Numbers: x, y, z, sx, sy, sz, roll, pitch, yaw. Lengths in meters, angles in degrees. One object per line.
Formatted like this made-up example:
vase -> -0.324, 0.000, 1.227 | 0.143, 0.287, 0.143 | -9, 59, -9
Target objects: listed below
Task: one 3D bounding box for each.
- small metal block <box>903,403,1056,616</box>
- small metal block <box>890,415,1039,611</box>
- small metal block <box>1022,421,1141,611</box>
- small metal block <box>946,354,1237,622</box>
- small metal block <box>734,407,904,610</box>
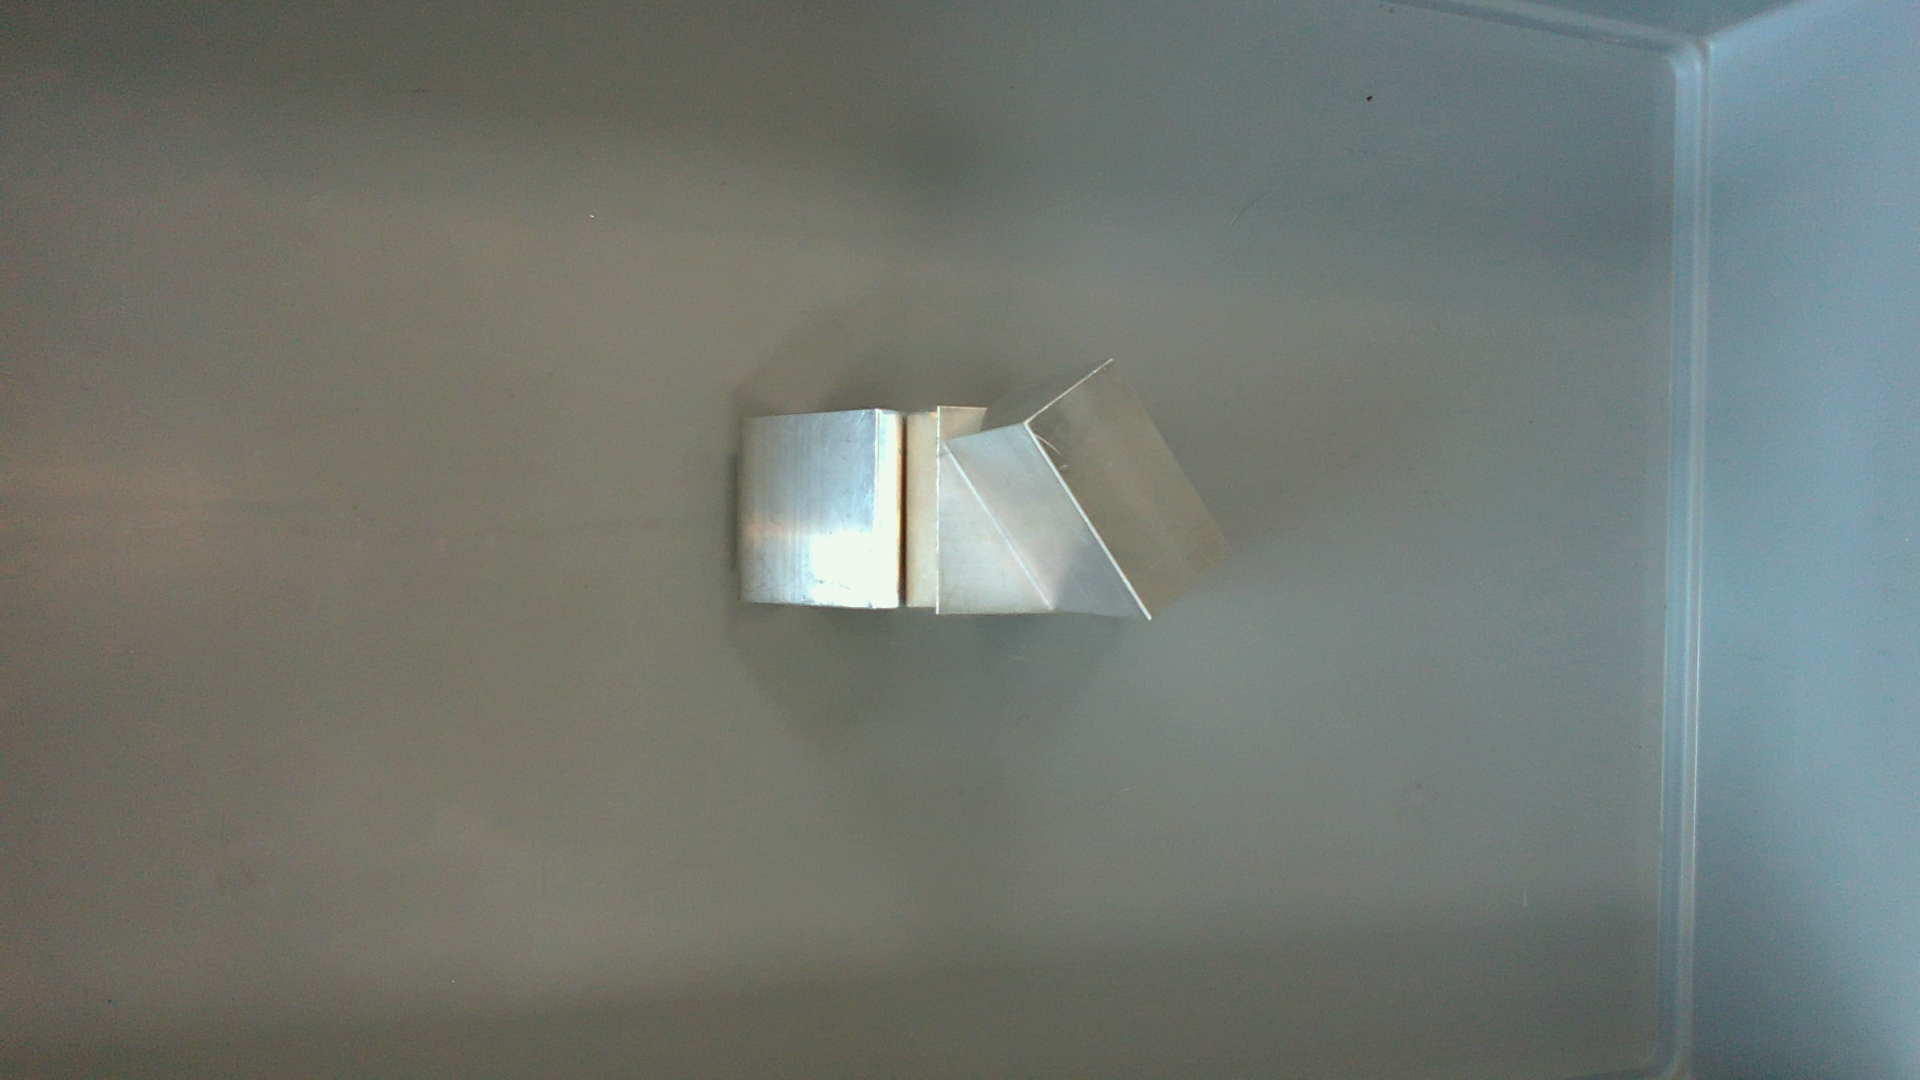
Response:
small metal block -> 0.014, -0.007, 0.343 | 0.050, 0.025, 0.050 | 1, 89, -20
small metal block -> 0.000, -0.007, 0.378 | 0.025, 0.050, 0.050 | 1, 90, -20
small metal block -> 0.035, -0.006, 0.389 | 0.025, 0.050, 0.050 | 1, 90, 14
small metal block -> 0.028, -0.011, 0.308 | 0.025, 0.050, 0.050 | -37, 101, -16
small metal block -> -0.033, -0.008, 0.364 | 0.025, 0.050, 0.050 | 1, 90, -53
